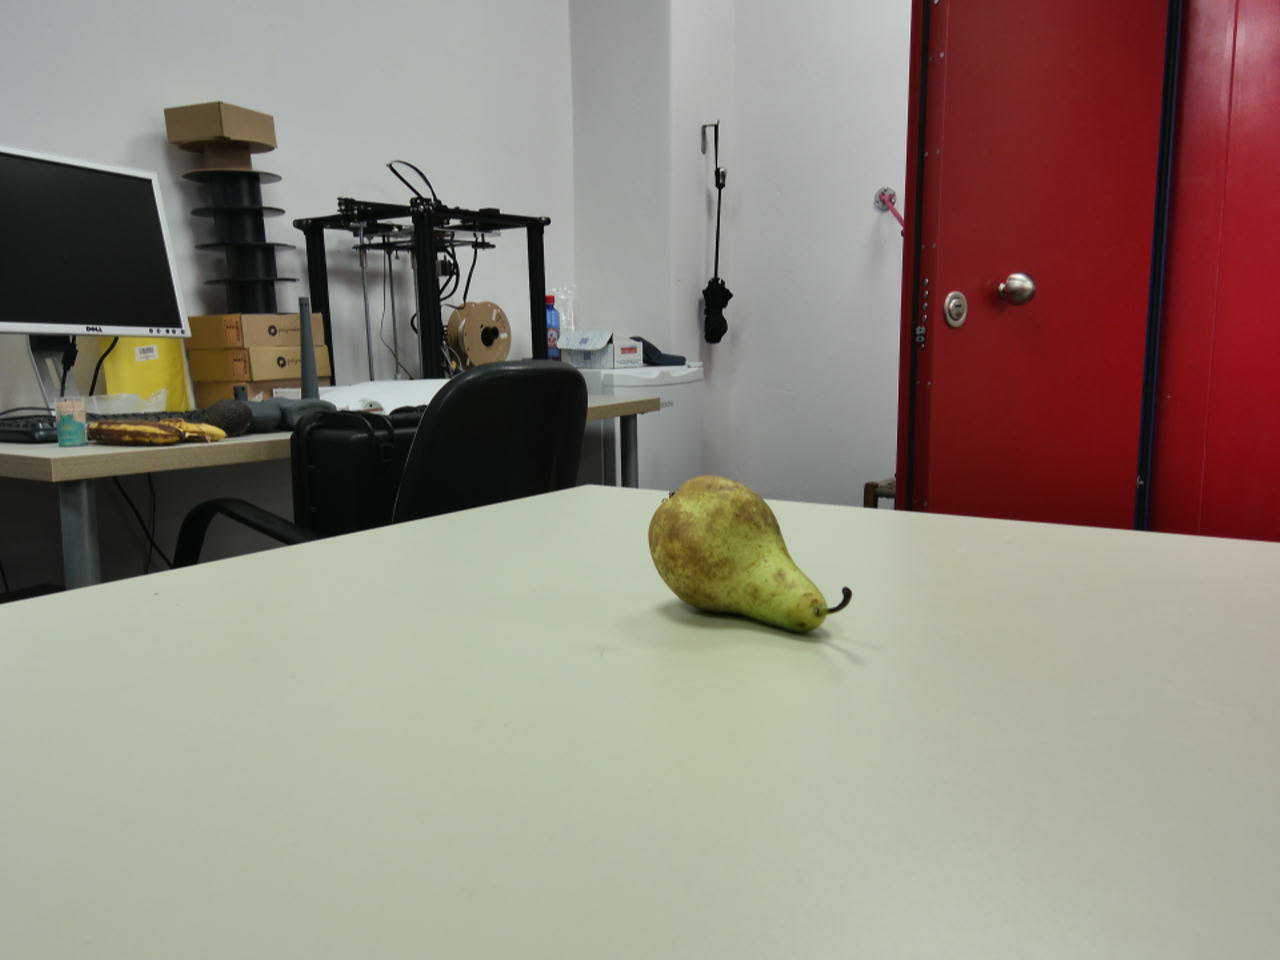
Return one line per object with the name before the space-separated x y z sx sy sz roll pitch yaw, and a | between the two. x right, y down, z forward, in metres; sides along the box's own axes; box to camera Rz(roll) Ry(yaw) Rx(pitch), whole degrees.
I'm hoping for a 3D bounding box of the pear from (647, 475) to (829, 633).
pear | 0.066 0.039 0.539 0.144 0.075 0.071 8 9 43
